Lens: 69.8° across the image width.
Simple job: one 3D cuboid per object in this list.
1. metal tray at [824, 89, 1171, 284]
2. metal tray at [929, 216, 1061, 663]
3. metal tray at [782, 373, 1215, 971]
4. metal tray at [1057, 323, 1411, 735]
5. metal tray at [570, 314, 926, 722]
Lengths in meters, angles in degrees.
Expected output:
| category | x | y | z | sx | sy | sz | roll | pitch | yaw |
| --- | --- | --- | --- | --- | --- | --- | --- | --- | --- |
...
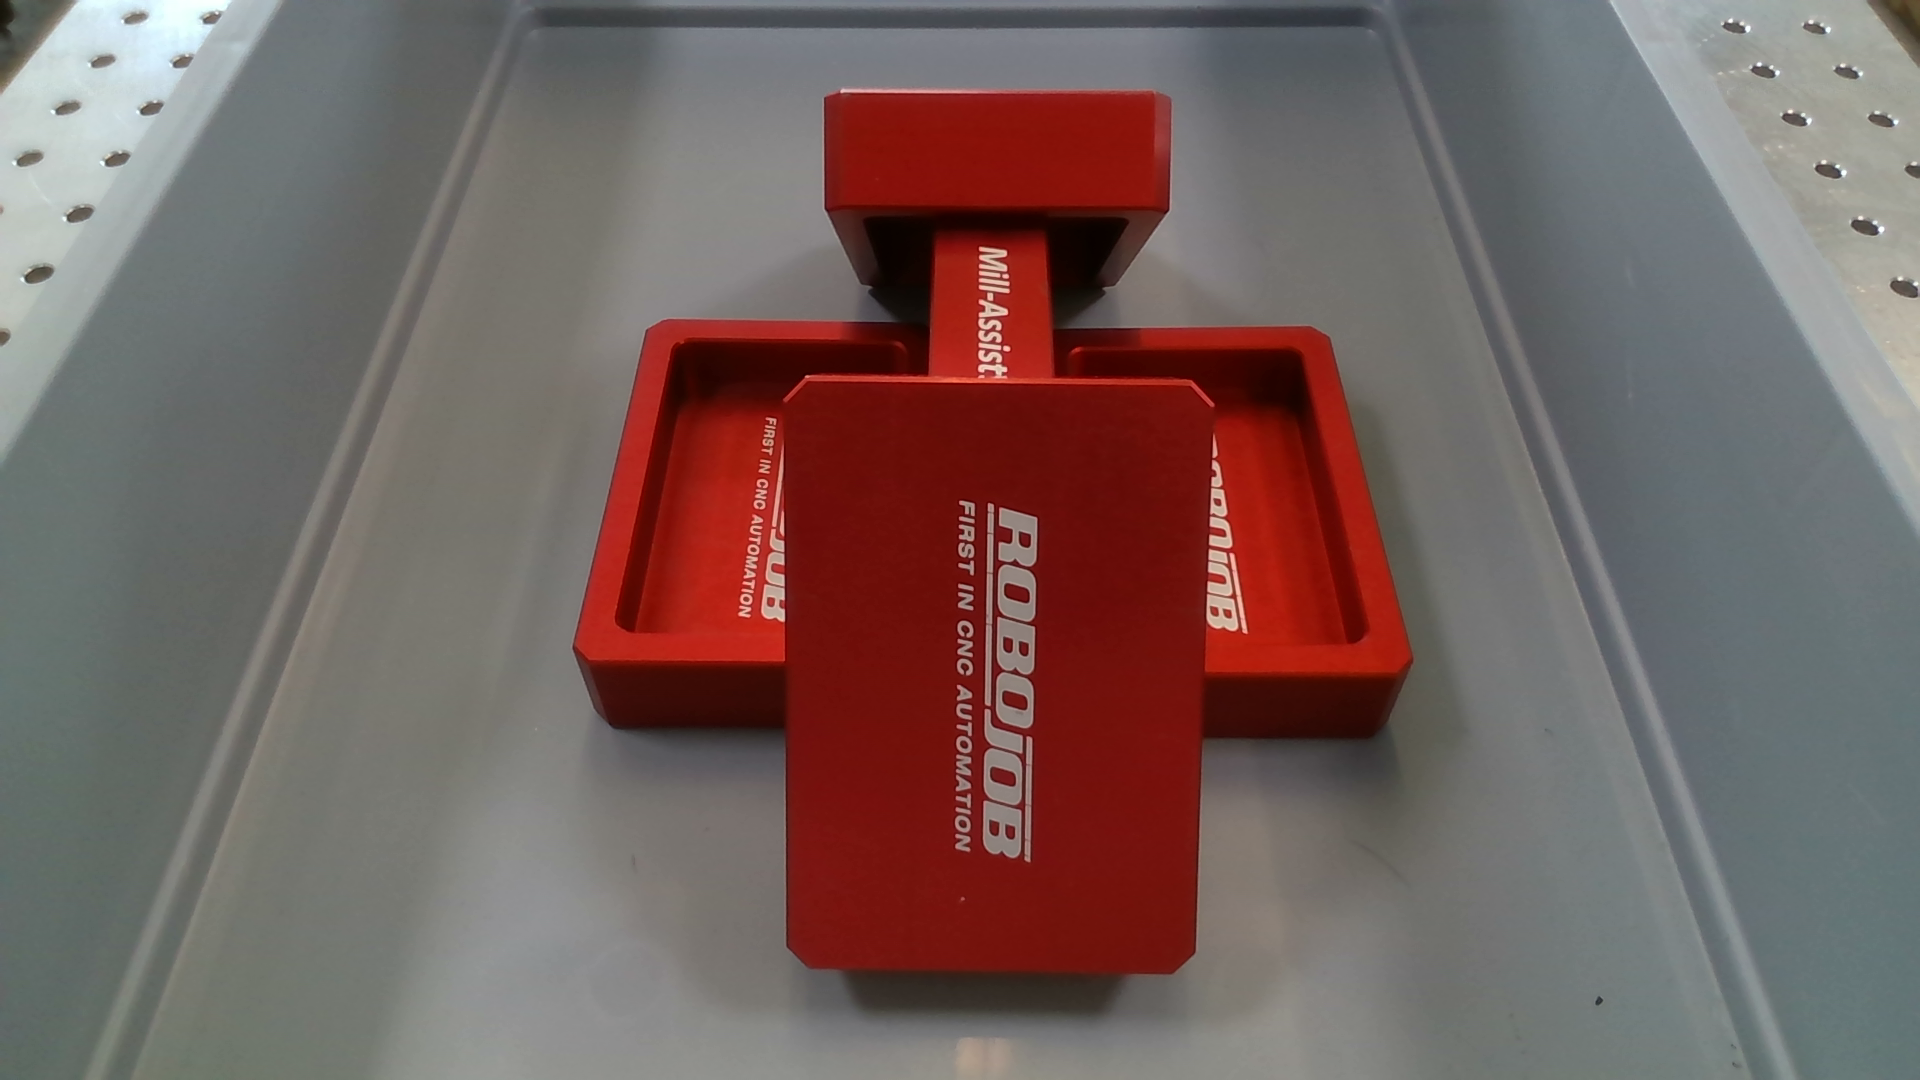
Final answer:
| category | x | y | z | sx | sy | sz | roll | pitch | yaw |
| --- | --- | --- | --- | --- | --- | --- | --- | --- | --- |
| metal tray | 0.010 | -0.102 | 0.418 | 0.090 | 0.130 | 0.030 | 0 | 92 | 0 |
| metal tray | 0.008 | -0.030 | 0.375 | 0.030 | 0.090 | 0.130 | 0 | 51 | 0 |
| metal tray | 0.007 | 0.028 | 0.309 | 0.090 | 0.130 | 0.030 | 1 | 8 | 0 |
| metal tray | 0.068 | -0.007 | 0.395 | 0.090 | 0.030 | 0.130 | -1 | 51 | 0 |
| metal tray | -0.053 | -0.011 | 0.396 | 0.090 | 0.030 | 0.130 | 0 | 51 | 0 |
